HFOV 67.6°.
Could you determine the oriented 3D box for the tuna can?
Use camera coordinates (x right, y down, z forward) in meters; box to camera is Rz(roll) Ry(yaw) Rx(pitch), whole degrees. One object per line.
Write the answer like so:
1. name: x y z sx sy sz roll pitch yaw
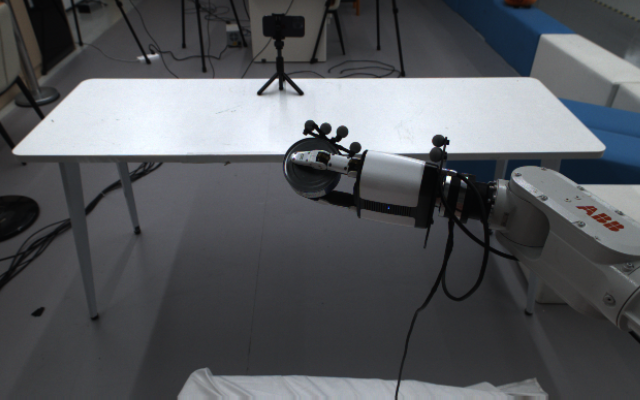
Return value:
1. tuna can: -0.011 -0.048 0.721 0.085 0.034 0.085 -2 71 6
